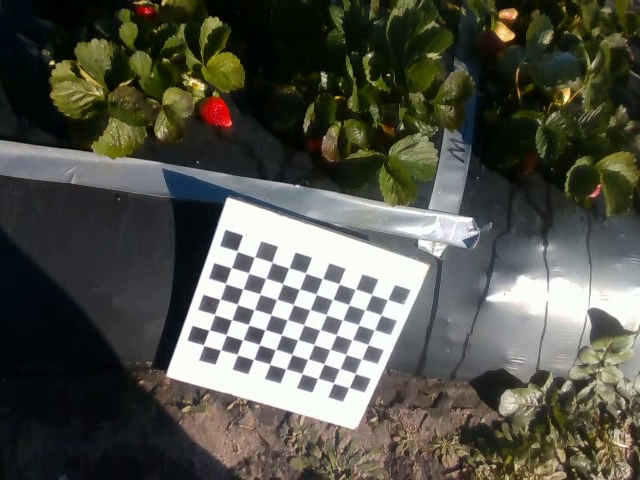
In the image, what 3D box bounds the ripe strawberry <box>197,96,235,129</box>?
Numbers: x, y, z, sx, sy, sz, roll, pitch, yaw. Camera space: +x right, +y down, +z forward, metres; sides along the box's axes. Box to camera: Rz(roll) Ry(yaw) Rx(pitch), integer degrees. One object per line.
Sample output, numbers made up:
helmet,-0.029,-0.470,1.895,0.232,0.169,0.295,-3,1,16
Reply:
ripe strawberry,-0.141,-0.173,0.836,0.045,0.059,0.042,-42,-3,7
